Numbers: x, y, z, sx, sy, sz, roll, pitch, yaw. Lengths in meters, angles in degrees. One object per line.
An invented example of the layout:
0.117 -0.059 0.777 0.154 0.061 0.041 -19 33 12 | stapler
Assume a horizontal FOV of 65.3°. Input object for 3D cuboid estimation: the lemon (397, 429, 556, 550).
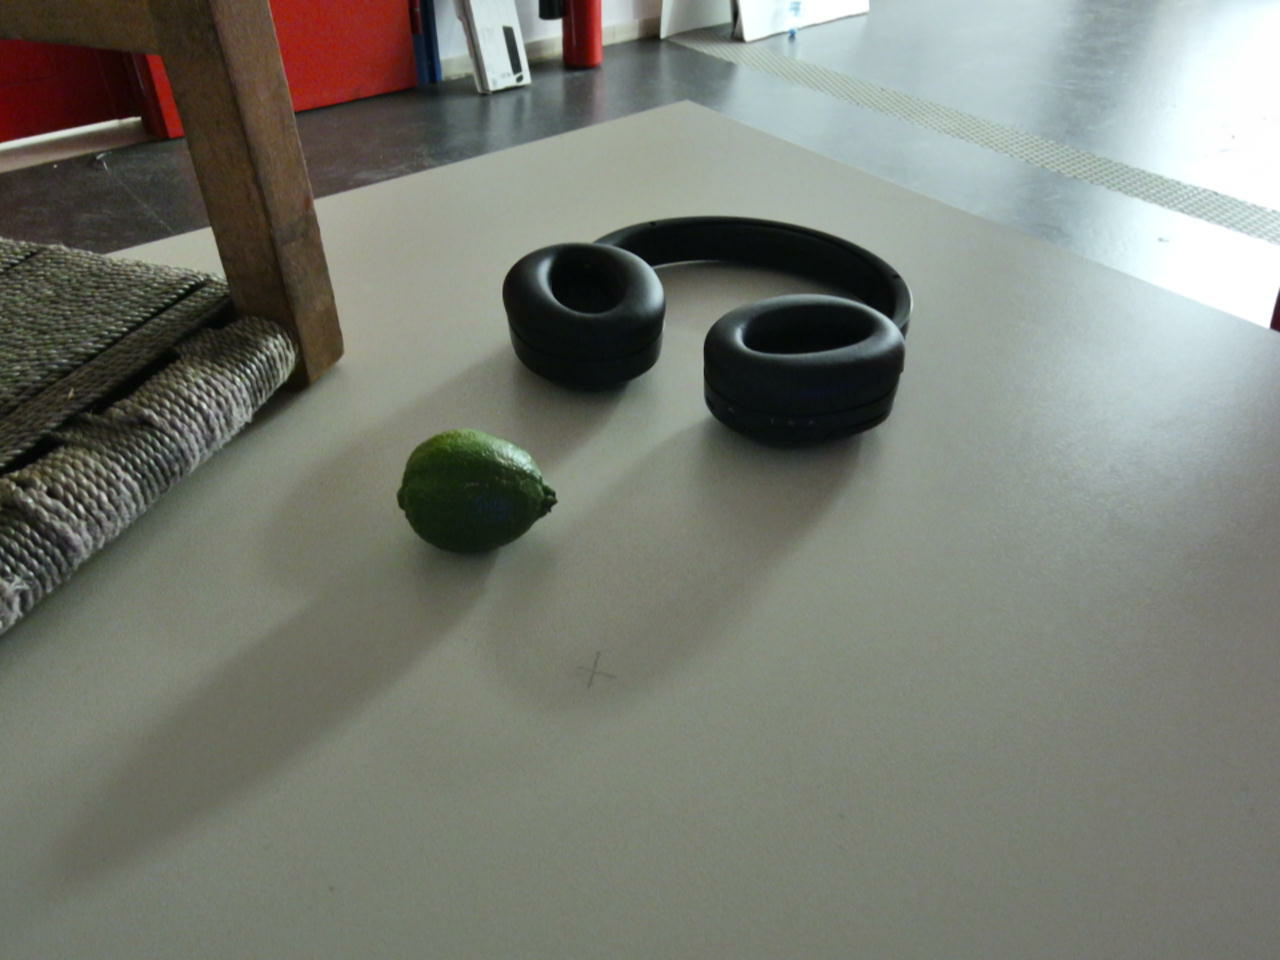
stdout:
-0.070 0.003 0.411 0.057 0.051 0.054 -29 46 -34 | lemon
